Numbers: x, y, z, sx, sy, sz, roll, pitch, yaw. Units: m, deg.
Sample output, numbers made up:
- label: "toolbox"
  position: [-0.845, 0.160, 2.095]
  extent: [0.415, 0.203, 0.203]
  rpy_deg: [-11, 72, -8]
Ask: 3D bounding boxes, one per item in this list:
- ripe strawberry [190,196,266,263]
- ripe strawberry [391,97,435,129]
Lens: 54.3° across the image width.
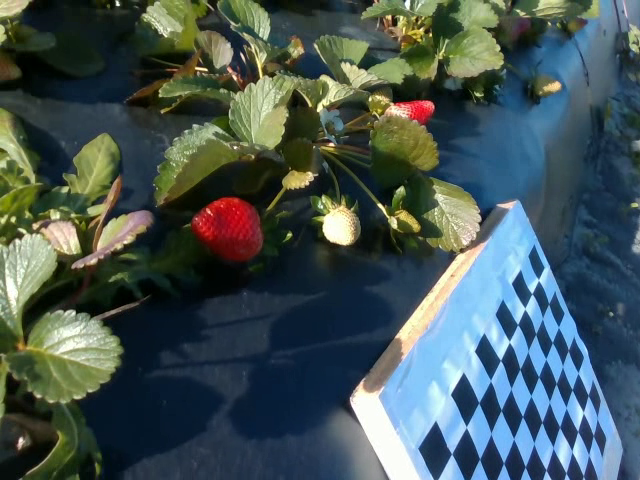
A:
- label: "ripe strawberry"
  position: [-0.050, -0.007, 0.311]
  extent: [0.036, 0.043, 0.054]
  rpy_deg: [-15, -10, 32]
- label: "ripe strawberry"
  position: [0.067, -0.091, 0.462]
  extent: [0.045, 0.037, 0.042]
  rpy_deg: [-33, 26, 14]
